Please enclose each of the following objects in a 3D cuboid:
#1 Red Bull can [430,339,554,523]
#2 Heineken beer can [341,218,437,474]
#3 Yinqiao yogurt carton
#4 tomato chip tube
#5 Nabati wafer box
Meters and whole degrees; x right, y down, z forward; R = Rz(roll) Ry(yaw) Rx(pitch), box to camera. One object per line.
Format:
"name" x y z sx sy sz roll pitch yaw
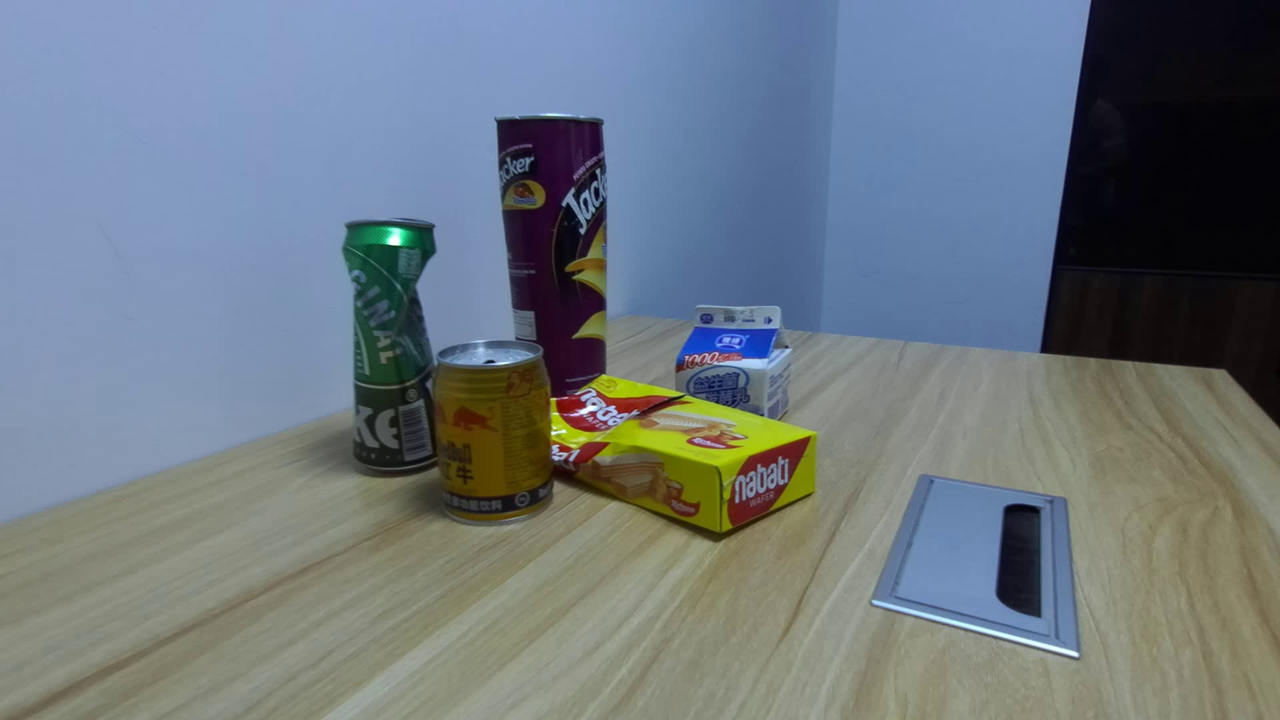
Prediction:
"Red Bull can" -0.085 0.039 0.413 0.067 0.093 0.067 1 15 0
"Heineken beer can" -0.163 -0.009 0.470 0.066 0.164 0.078 9 14 32
"Yinqiao yogurt carton" 0.074 0.002 0.552 0.075 0.092 0.074 5 16 26
"tomato chip tube" -0.068 -0.081 0.598 0.077 0.235 0.076 2 14 11
"Nabati wafer box" 0.001 0.053 0.463 0.107 0.042 0.203 -12 17 -42
